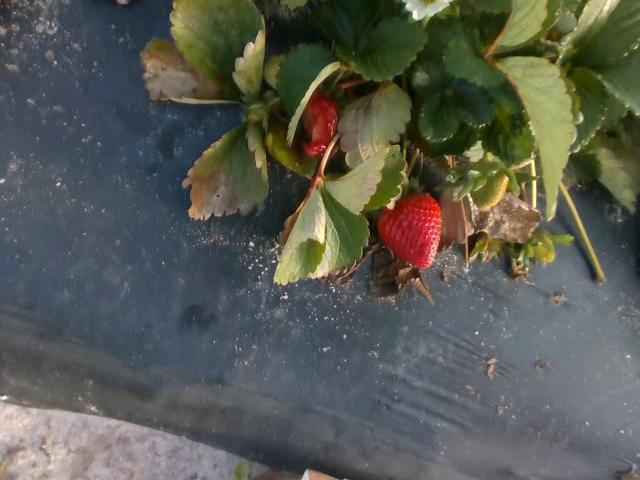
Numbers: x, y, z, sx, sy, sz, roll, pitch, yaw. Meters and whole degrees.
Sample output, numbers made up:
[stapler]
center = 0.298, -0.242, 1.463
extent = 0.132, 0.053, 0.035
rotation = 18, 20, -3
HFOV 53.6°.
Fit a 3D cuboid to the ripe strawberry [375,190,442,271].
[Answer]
[ripe strawberry]
center = 0.036, -0.002, 0.255
extent = 0.031, 0.030, 0.026
rotation = -15, -9, -2
